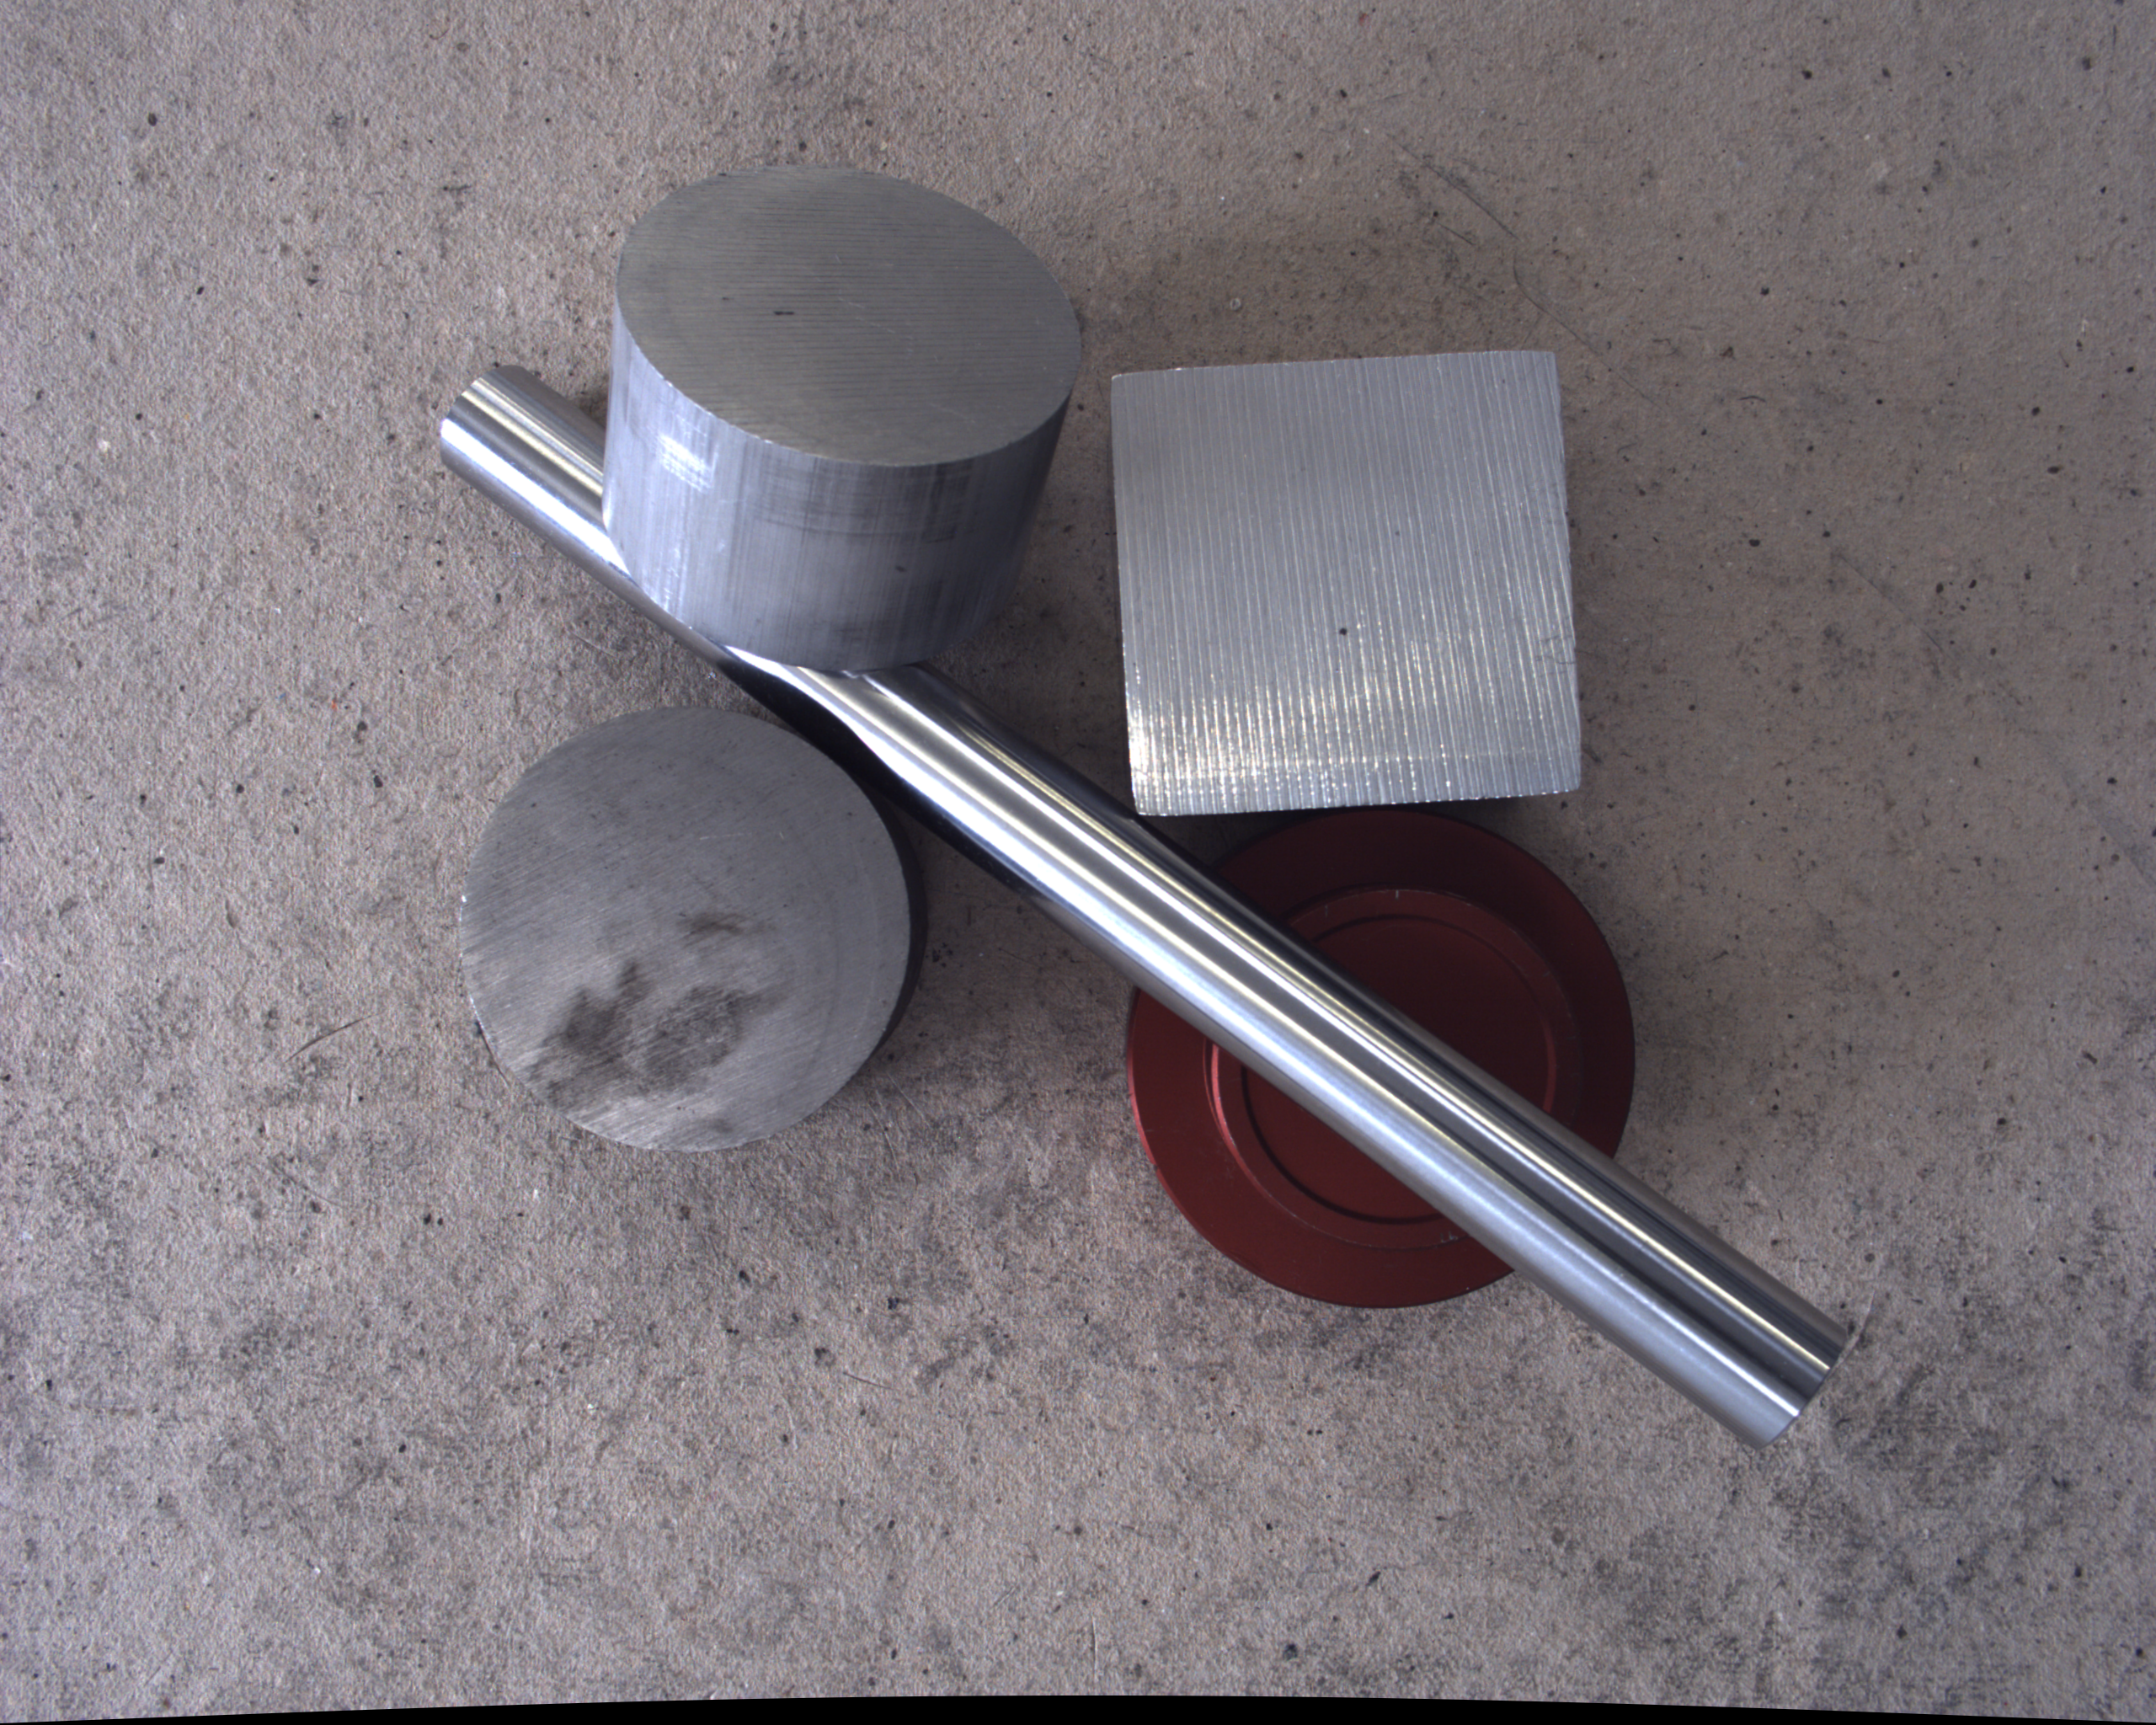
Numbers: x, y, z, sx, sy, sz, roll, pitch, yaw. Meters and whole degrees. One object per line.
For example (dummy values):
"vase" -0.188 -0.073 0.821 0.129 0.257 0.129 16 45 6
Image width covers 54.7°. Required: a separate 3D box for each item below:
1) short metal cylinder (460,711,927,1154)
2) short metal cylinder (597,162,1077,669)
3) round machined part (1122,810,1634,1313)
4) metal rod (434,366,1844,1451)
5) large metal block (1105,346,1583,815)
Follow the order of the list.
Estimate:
"short metal cylinder" -0.071 0.012 0.399 0.081 0.050 0.080 0 90 0
"short metal cylinder" -0.045 -0.082 0.379 0.081 0.050 0.080 9 51 -11
"round machined part" 0.058 0.038 0.402 0.099 0.042 0.097 0 90 0
"metal rod" 0.001 0.000 0.377 0.300 0.025 0.025 36 90 13
"large metal block" 0.048 -0.051 0.397 0.081 0.050 0.080 -3 90 0
